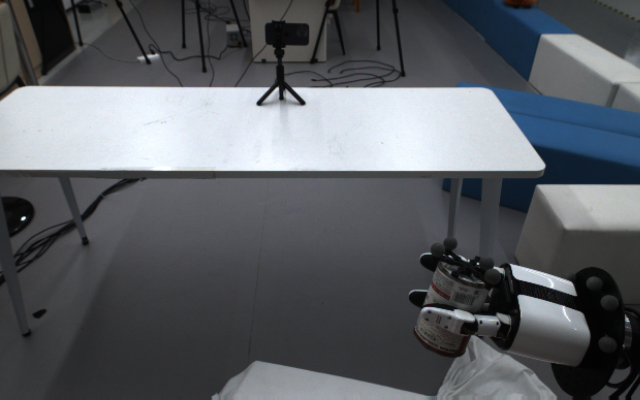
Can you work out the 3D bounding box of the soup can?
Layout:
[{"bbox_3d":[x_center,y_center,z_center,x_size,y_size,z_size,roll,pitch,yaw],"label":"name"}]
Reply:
[{"bbox_3d":[0.165,0.130,0.597,0.067,0.101,0.067,13,18,-4],"label":"soup can"}]
